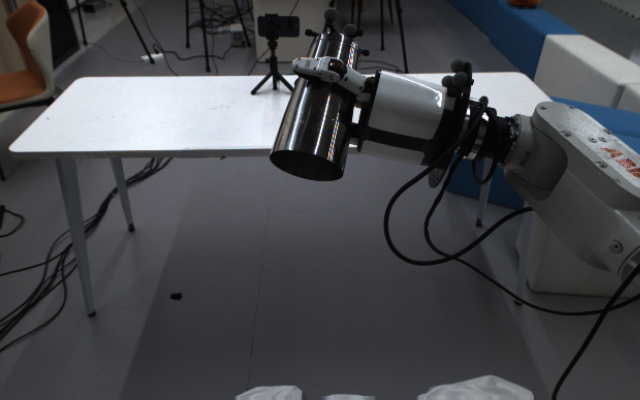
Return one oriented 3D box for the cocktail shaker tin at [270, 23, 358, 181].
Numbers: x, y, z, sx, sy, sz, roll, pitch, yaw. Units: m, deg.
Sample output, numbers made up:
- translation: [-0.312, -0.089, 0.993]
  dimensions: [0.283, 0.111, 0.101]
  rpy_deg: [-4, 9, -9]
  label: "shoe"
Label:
- translation: [0.002, -0.118, 0.606]
  dimensions: [0.093, 0.093, 0.170]
  rpy_deg: [10, 73, 12]
  label: "cocktail shaker tin"
